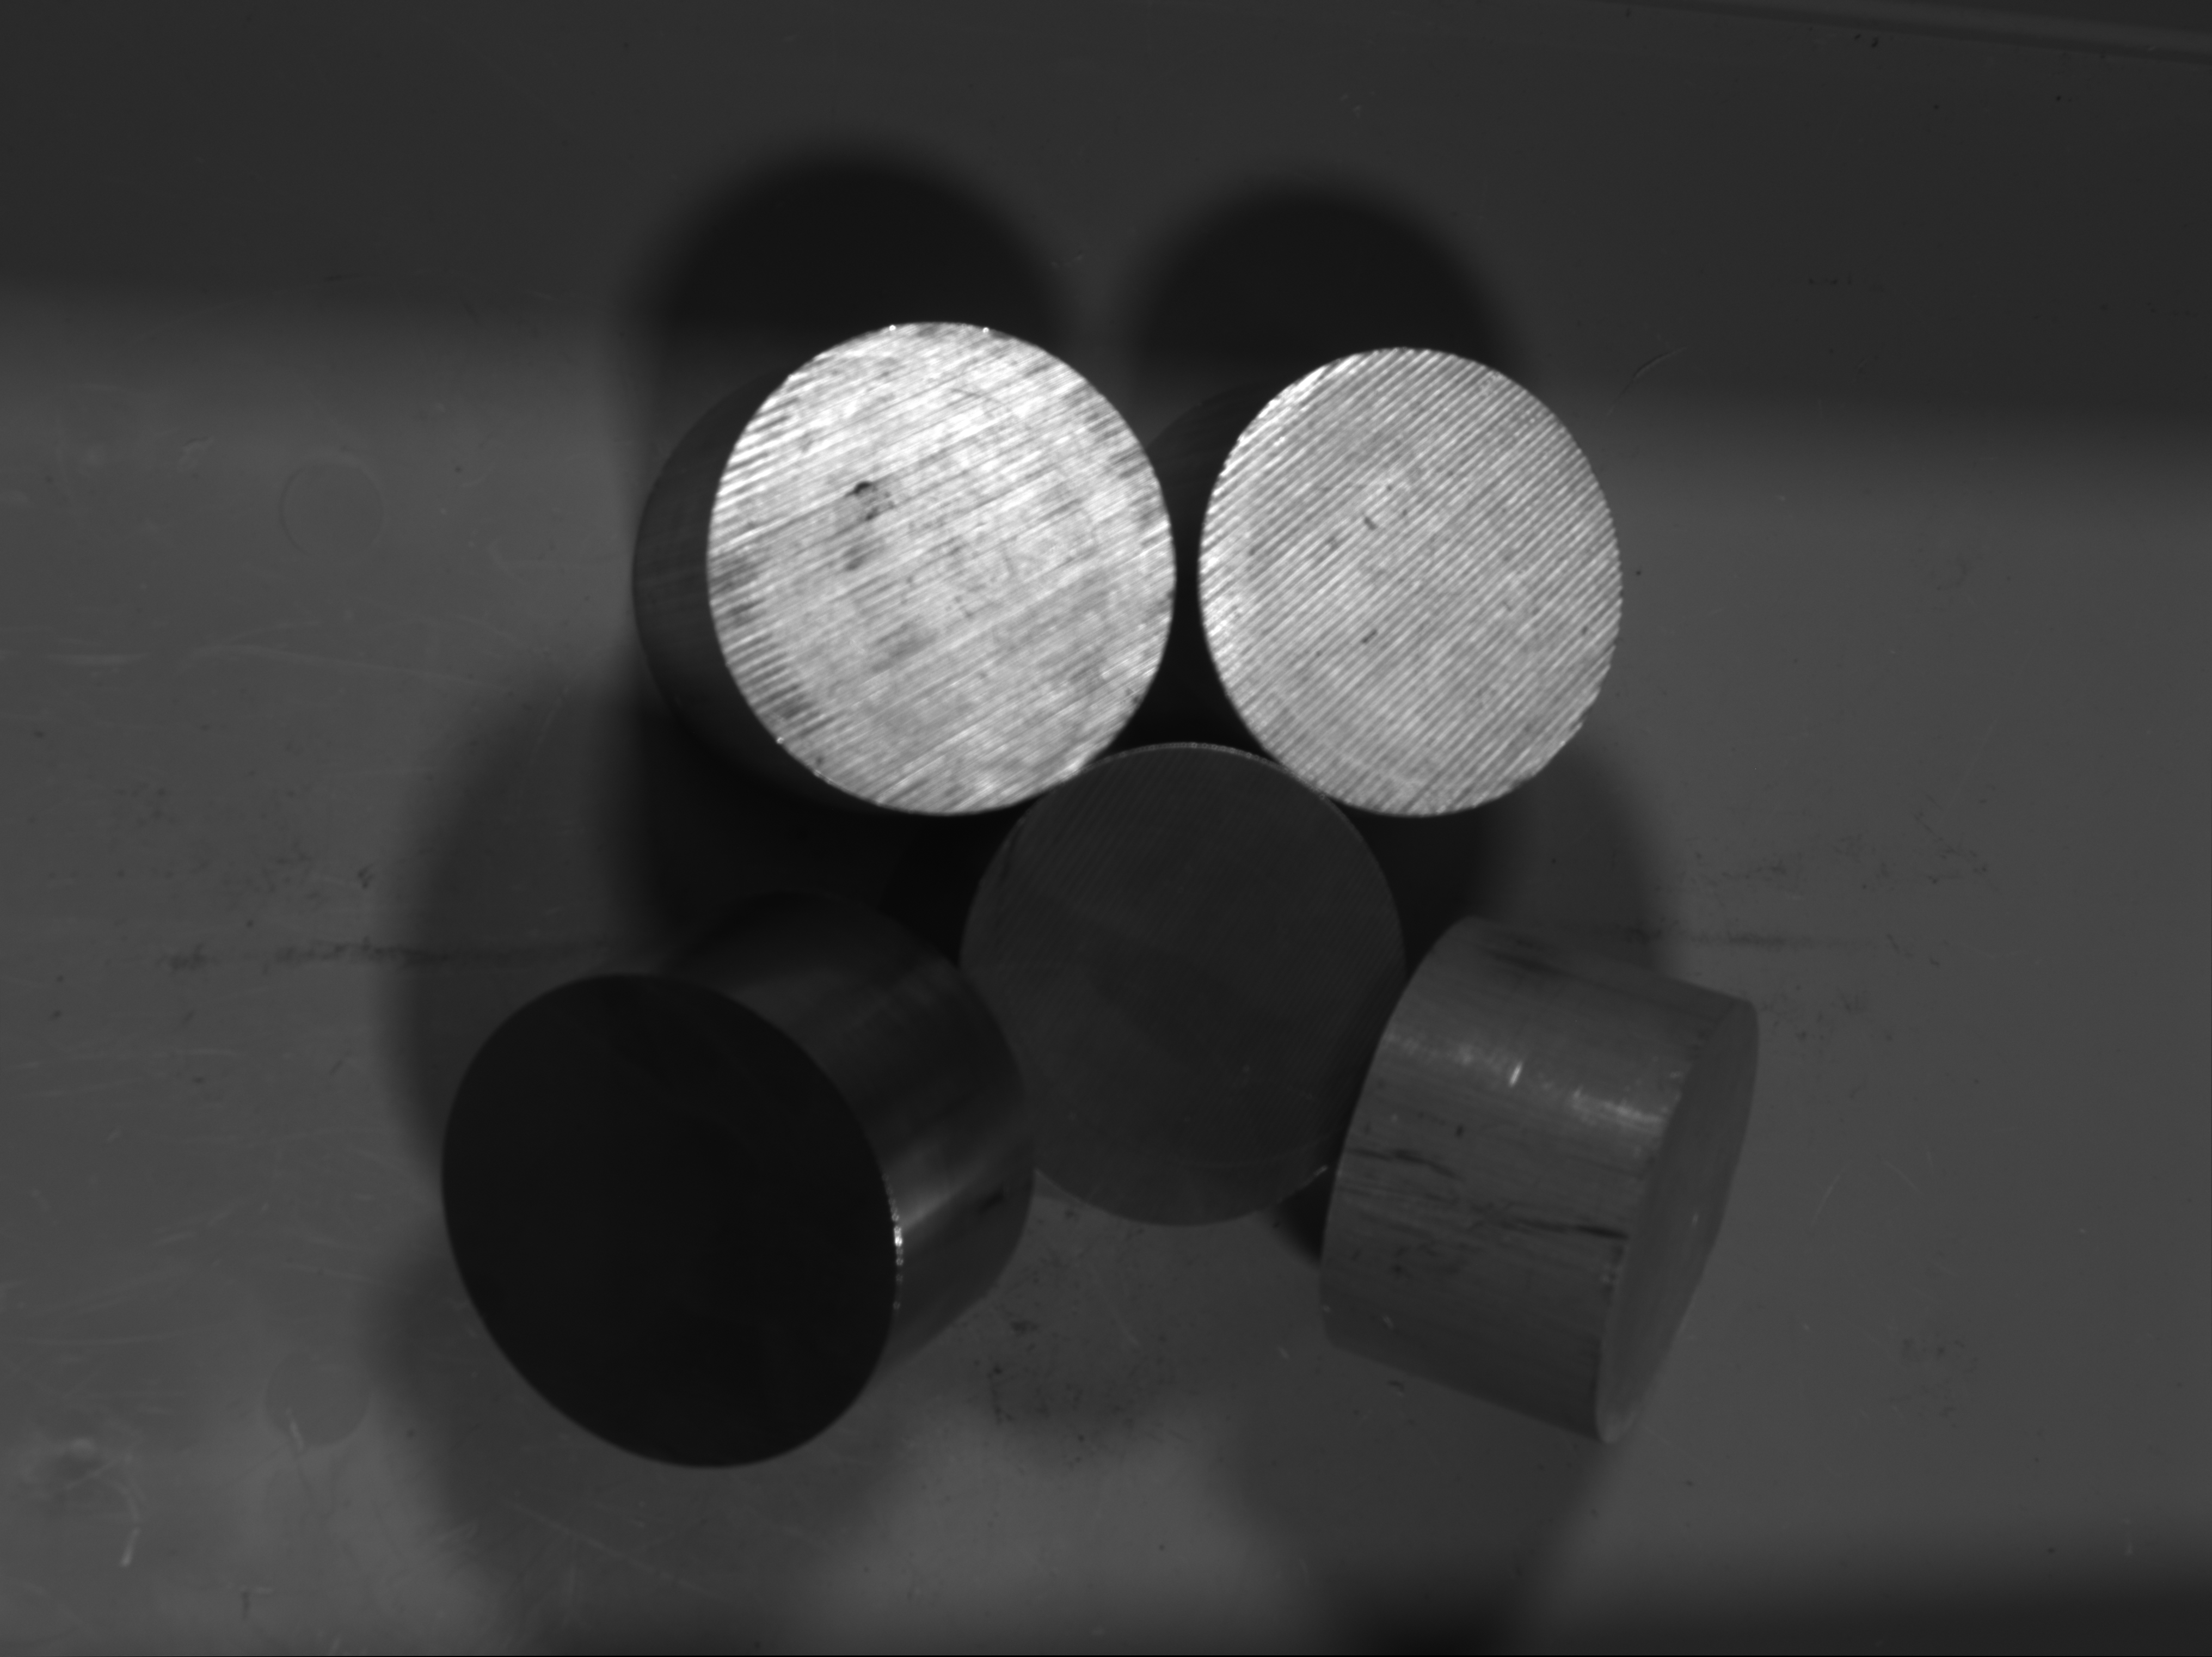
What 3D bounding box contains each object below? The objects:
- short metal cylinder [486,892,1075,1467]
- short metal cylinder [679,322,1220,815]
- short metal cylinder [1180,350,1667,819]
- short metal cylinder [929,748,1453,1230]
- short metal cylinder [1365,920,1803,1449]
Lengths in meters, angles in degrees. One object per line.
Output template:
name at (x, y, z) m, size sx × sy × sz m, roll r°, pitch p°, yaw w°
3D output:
short metal cylinder at (-0.052, 0.055, 0.588) m, size 0.050 × 0.080 × 0.080 m, roll -31°, pitch 104°, yaw -62°
short metal cylinder at (-0.027, -0.042, 0.618) m, size 0.080 × 0.050 × 0.080 m, roll 0°, pitch 90°, yaw -20°
short metal cylinder at (0.052, -0.042, 0.648) m, size 0.080 × 0.050 × 0.080 m, roll 0°, pitch 90°, yaw -20°
short metal cylinder at (0.013, 0.027, 0.632) m, size 0.080 × 0.050 × 0.080 m, roll 0°, pitch 90°, yaw -20°
short metal cylinder at (0.084, 0.061, 0.637) m, size 0.050 × 0.080 × 0.080 m, roll 17°, pitch 83°, yaw 21°
